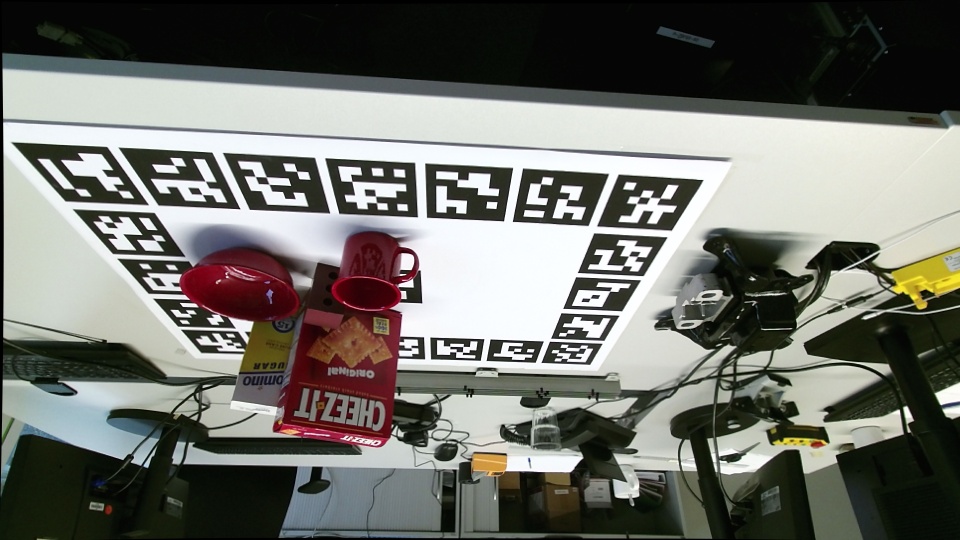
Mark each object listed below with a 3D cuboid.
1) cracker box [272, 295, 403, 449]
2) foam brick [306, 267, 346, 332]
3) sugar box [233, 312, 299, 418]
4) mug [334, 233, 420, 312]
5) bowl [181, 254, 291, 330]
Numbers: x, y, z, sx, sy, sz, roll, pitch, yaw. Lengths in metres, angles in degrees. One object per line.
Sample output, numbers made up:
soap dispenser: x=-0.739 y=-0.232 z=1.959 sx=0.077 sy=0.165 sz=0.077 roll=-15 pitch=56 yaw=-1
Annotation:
cracker box: x=-0.217 y=0.160 z=0.847 sx=0.165 sy=0.212 sz=0.072 roll=20 pitch=143 yaw=-26
foam brick: x=-0.227 y=0.044 z=0.803 sx=0.053 sy=0.077 sz=0.051 roll=10 pitch=145 yaw=-16
sugar box: x=-0.329 y=0.150 z=0.862 sx=0.093 sy=0.175 sz=0.045 roll=14 pitch=143 yaw=-21
mug: x=-0.139 y=0.002 z=0.724 sx=0.117 sy=0.081 sz=0.093 roll=-5 pitch=154 yaw=3
bowl: x=-0.348 y=0.025 z=0.768 sx=0.162 sy=0.055 sz=0.162 roll=0 pitch=145 yaw=0
